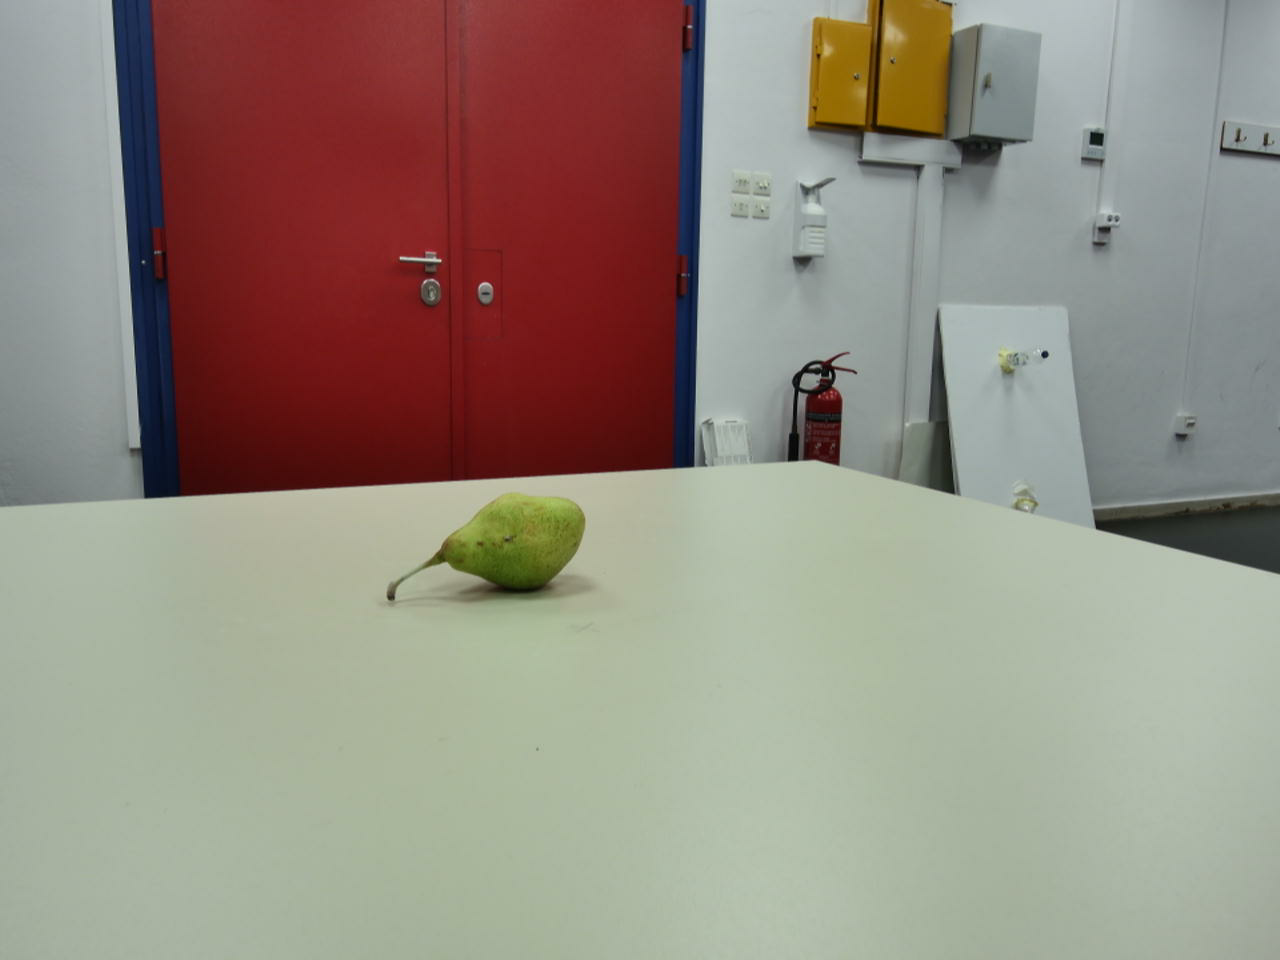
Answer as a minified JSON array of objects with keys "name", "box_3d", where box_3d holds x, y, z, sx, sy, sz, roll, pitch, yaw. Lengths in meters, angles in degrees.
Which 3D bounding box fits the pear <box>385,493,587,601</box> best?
[{"name":"pear","box_3d":[-0.087,0.036,0.576,0.111,0.056,0.056,-1,8,-9]}]
